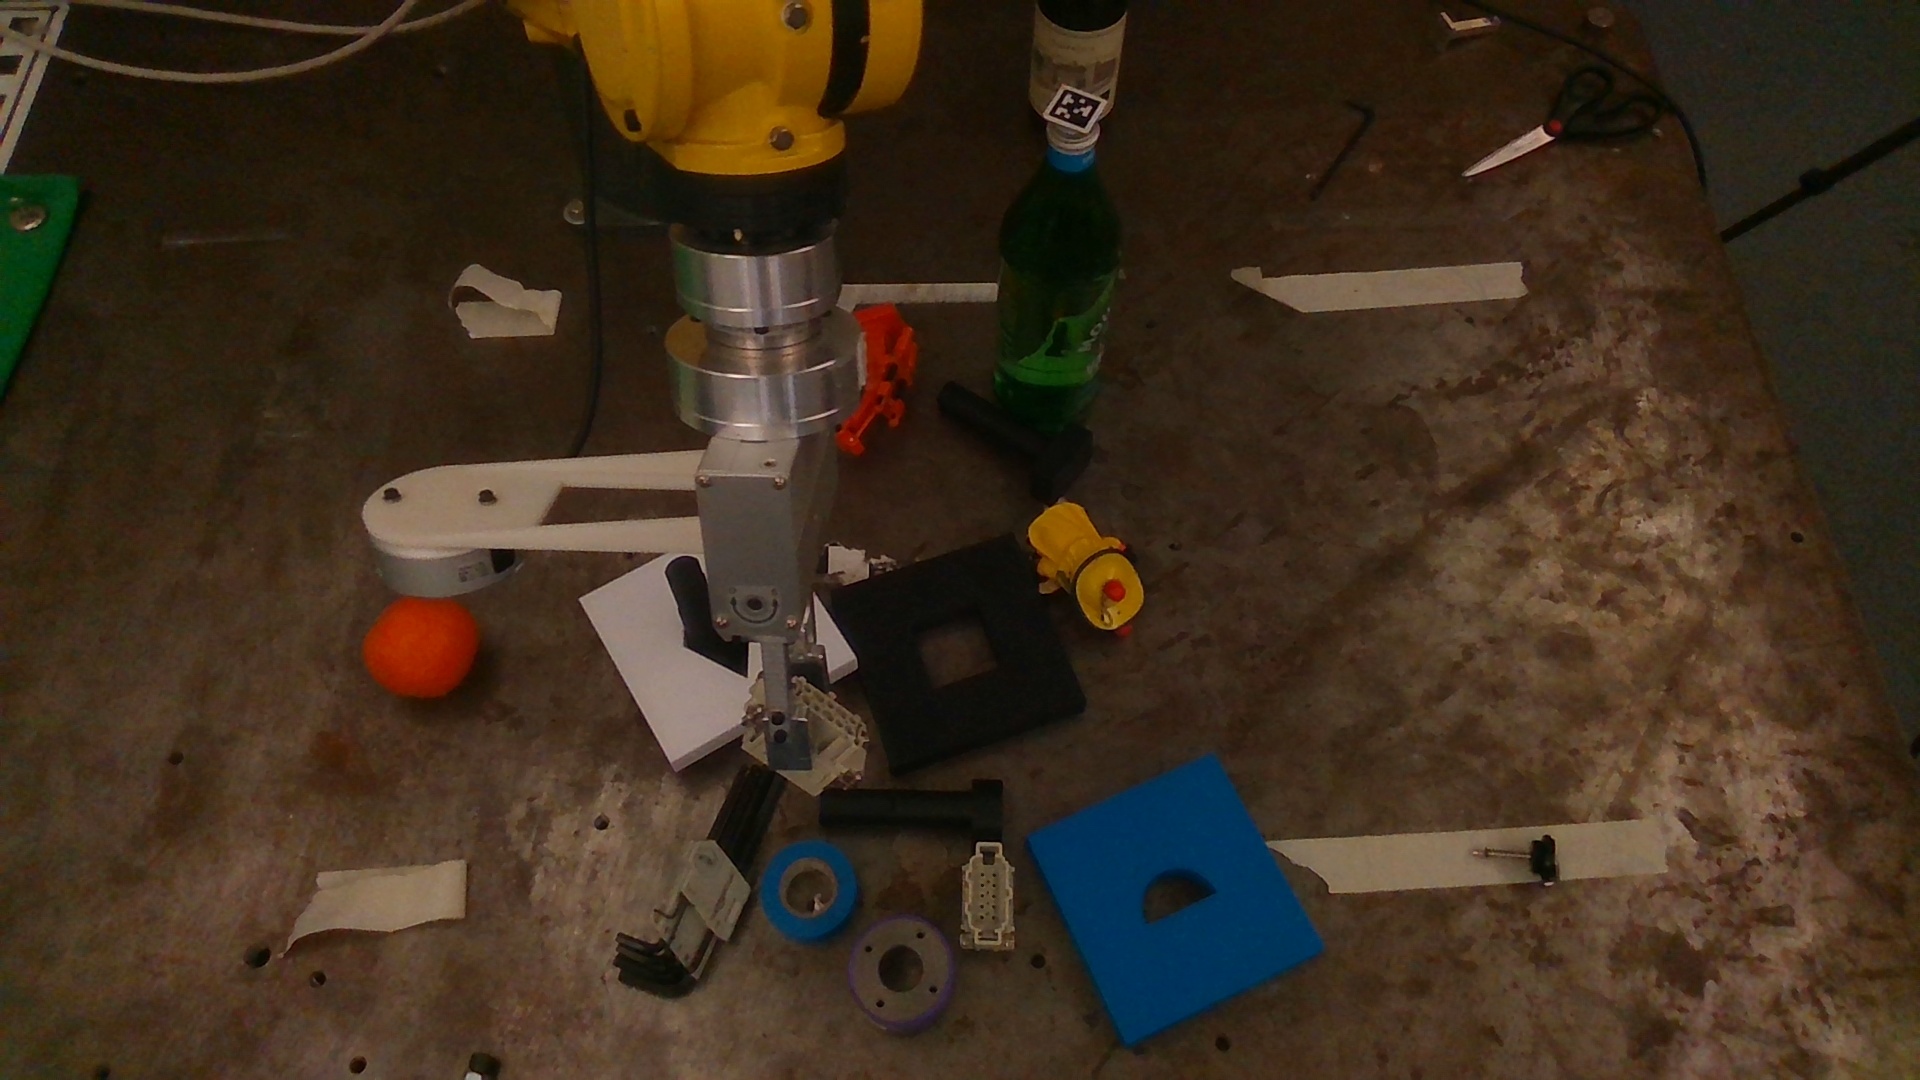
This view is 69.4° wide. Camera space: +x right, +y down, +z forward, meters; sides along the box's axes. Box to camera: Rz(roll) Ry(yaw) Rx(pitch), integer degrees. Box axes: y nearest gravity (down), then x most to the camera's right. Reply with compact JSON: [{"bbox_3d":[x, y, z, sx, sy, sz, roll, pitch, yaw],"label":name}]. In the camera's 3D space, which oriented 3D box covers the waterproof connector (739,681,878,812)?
[{"bbox_3d":[-0.070,0.092,0.639,0.069,0.039,0.037,33,25,-12],"label":"waterproof connector"}]
